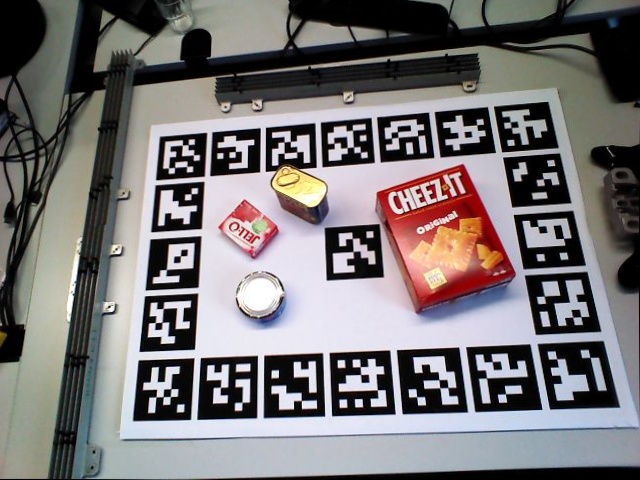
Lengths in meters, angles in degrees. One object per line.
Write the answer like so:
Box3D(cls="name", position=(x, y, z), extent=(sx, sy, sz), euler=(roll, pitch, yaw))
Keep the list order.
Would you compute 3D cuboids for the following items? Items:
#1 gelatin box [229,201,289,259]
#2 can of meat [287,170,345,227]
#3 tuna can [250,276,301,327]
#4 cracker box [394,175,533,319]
Box3D(cls="gelatin box", position=(-0.113, -0.019, 0.967), extent=(0.089, 0.030, 0.073), euler=(38, 73, 16))
Box3D(cls="can of meat", position=(-0.004, -0.076, 0.957), extent=(0.102, 0.084, 0.057), euler=(25, 72, 17))
Box3D(cls="tuna can", position=(-0.077, 0.108, 0.905), extent=(0.086, 0.034, 0.085), euler=(-2, 70, 6))
Box3D(cls="cracker box", position=(0.240, 0.009, 0.898), extent=(0.164, 0.072, 0.213), euler=(-18, 65, -3))
